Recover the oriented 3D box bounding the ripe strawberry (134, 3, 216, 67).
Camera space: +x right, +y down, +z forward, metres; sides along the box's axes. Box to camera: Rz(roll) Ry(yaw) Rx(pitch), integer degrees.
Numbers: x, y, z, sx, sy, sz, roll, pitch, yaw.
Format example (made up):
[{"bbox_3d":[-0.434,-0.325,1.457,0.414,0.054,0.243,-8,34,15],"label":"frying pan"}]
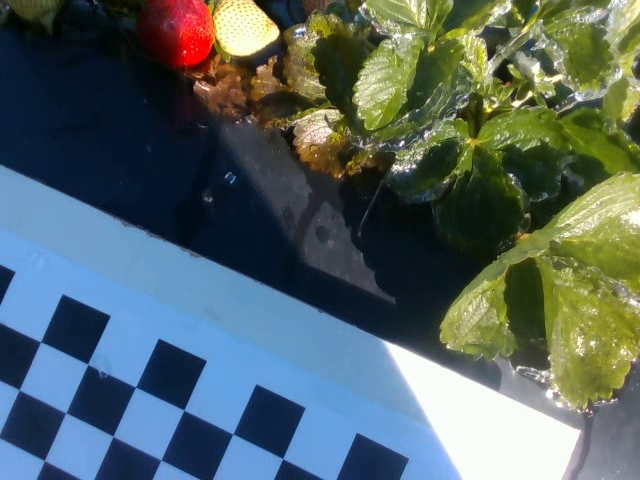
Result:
[{"bbox_3d":[-0.067,-0.096,0.298,0.040,0.042,0.053,-11,21,-3],"label":"ripe strawberry"}]
